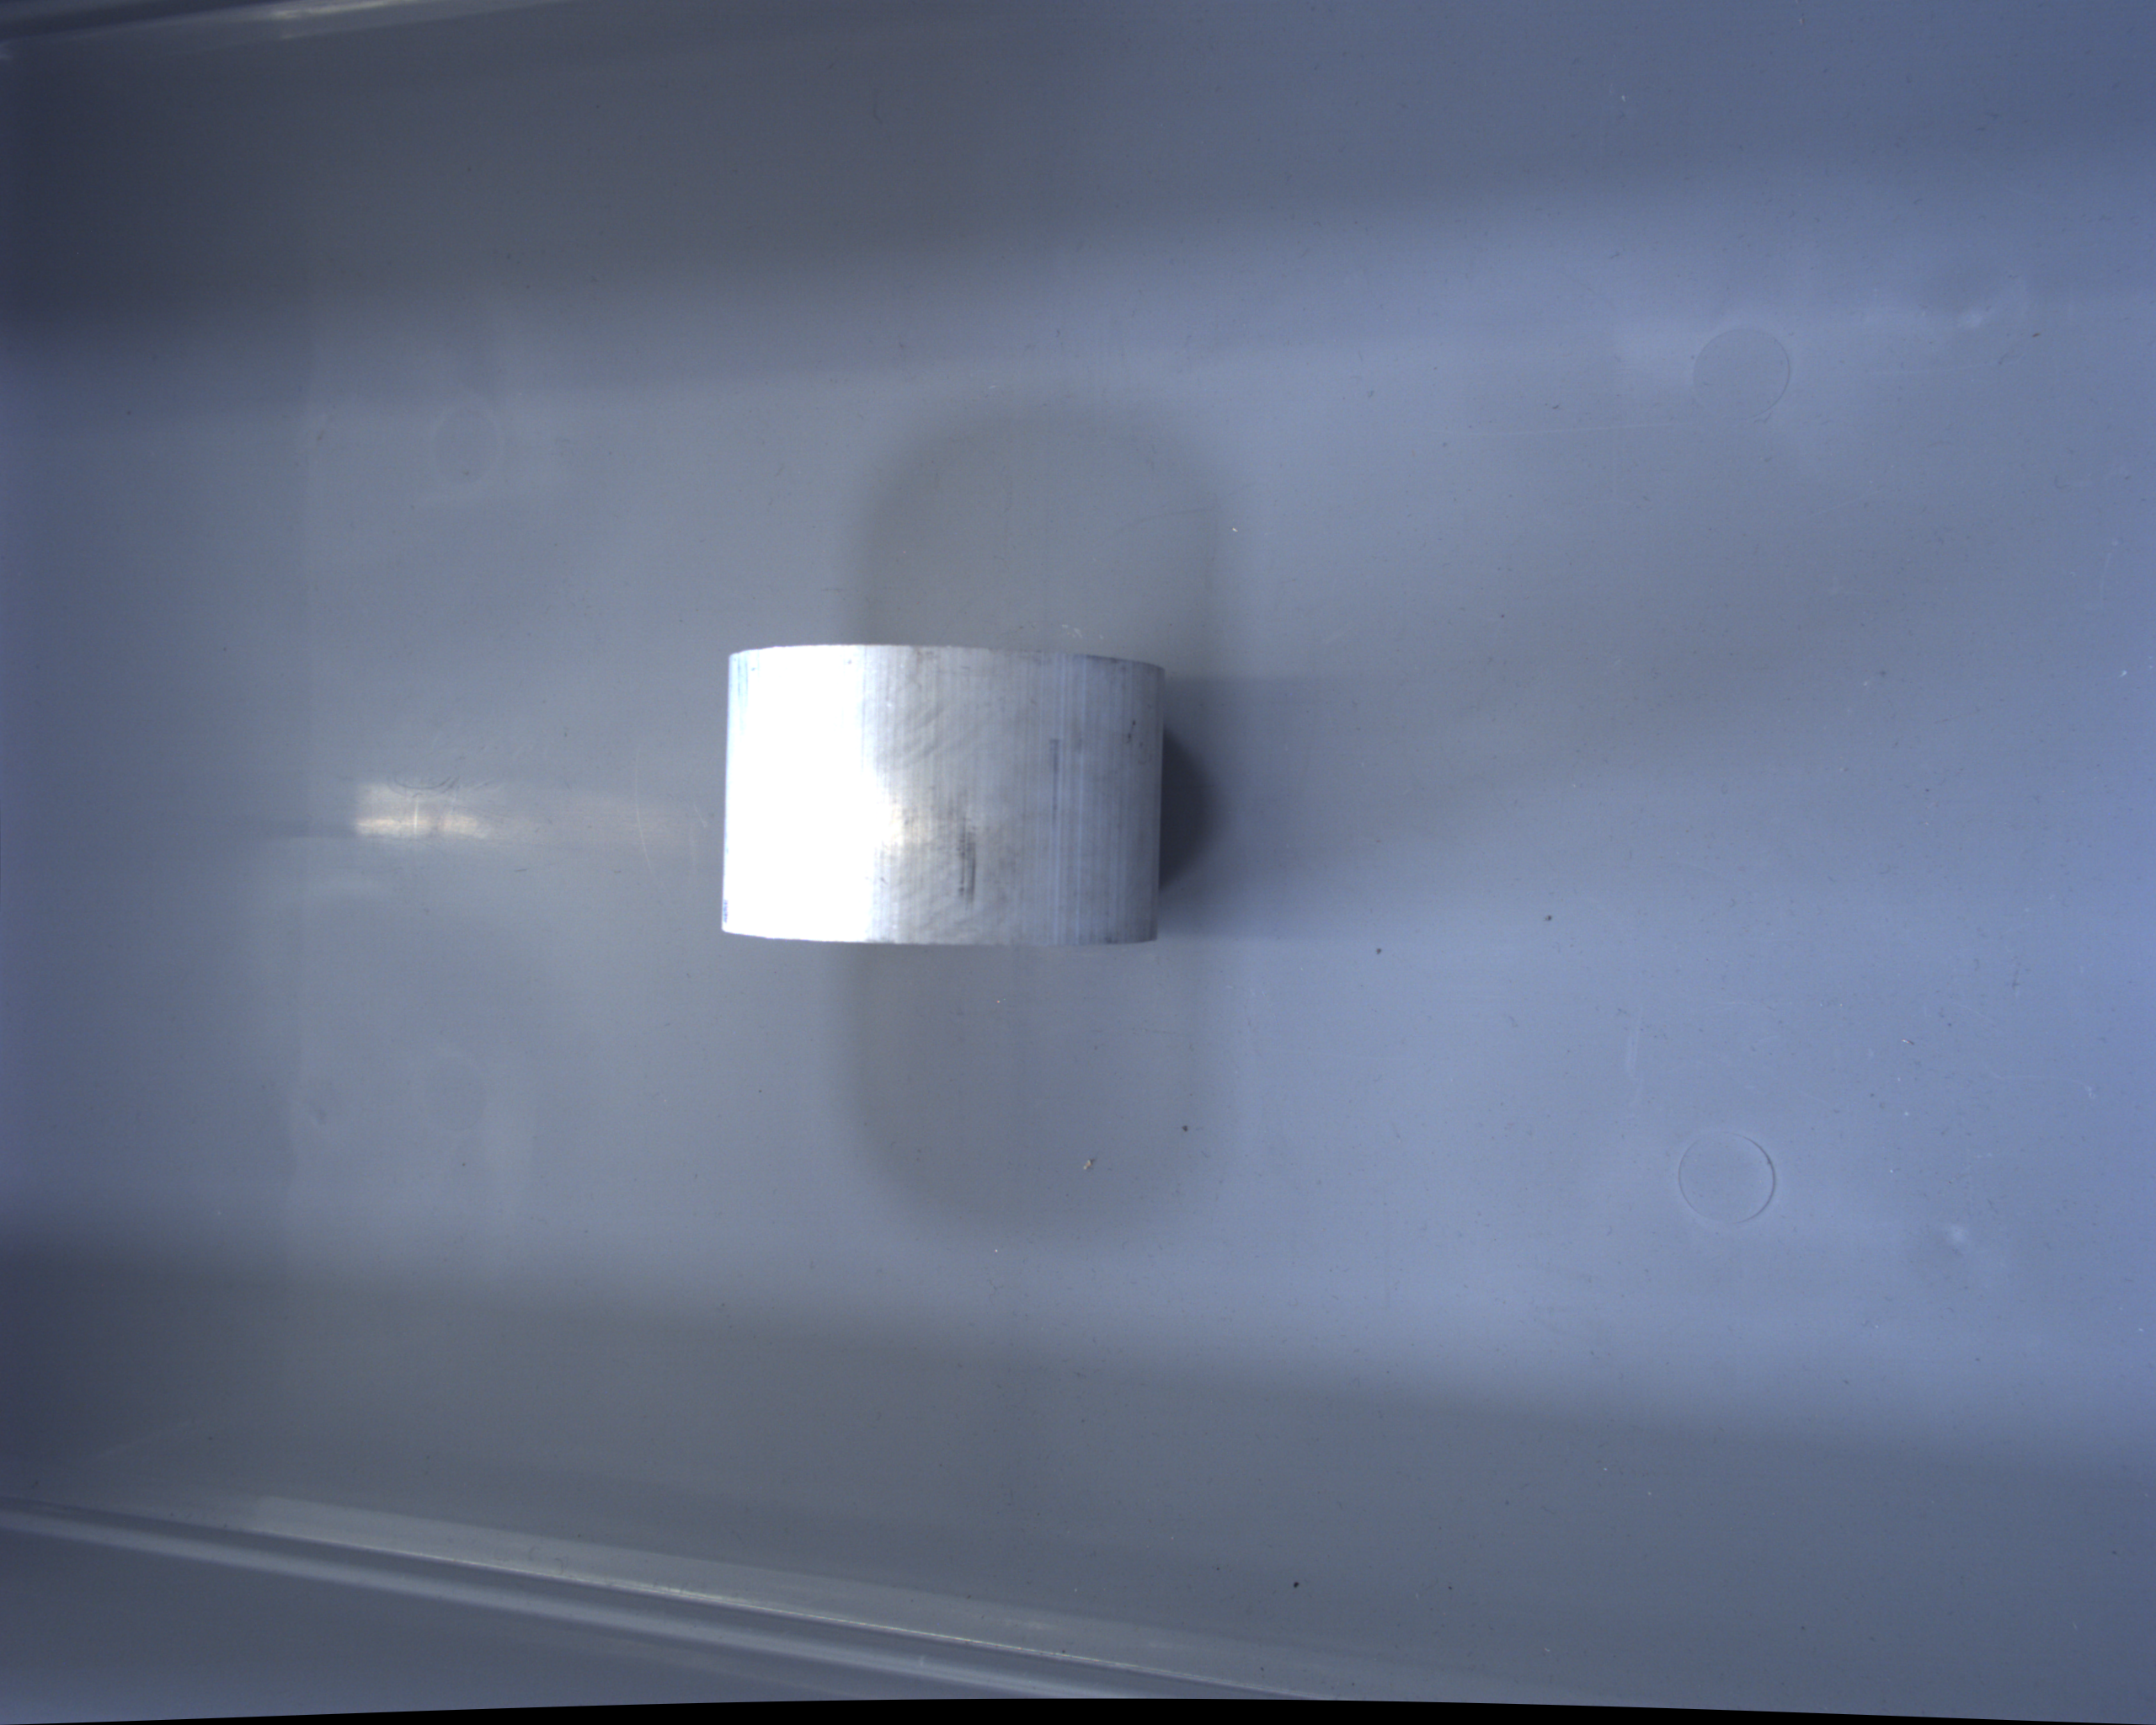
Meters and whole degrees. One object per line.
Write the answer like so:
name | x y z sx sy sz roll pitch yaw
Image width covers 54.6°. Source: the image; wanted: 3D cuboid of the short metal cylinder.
short metal cylinder | -0.025 -0.012 0.387 0.080 0.080 0.050 2 91 20
